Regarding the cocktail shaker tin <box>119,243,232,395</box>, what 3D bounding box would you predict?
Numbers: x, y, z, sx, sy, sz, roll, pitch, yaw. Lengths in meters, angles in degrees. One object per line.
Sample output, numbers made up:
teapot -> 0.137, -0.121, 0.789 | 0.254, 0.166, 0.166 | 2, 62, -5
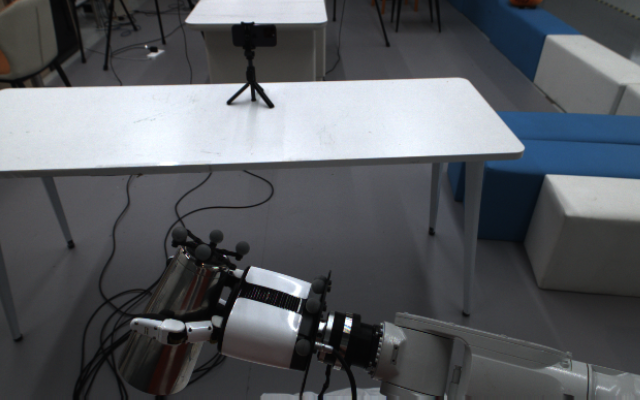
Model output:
cocktail shaker tin -> -0.170, 0.138, 0.593 | 0.093, 0.170, 0.093 | 24, 12, -6
